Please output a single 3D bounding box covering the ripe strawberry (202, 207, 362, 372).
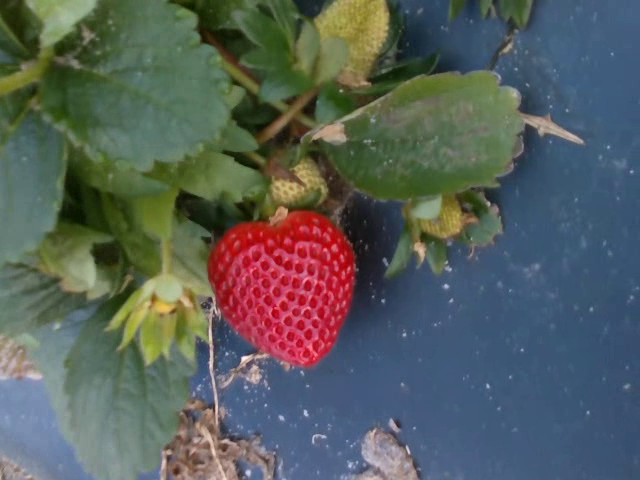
[{"bbox_3d":[-0.011,0.017,0.178,0.046,0.046,0.043,-10,-29,-34],"label":"ripe strawberry"}]
